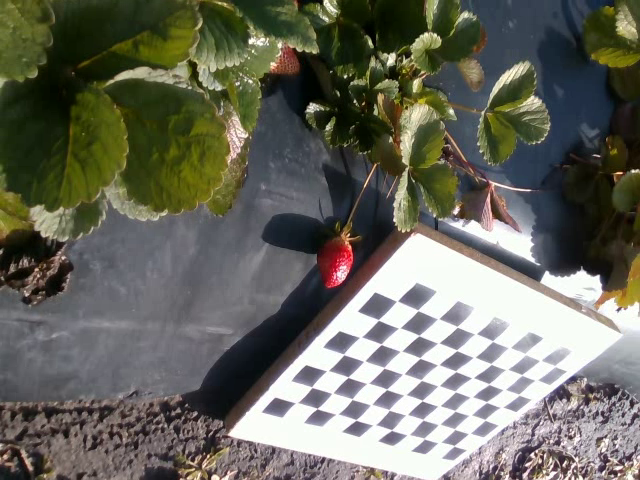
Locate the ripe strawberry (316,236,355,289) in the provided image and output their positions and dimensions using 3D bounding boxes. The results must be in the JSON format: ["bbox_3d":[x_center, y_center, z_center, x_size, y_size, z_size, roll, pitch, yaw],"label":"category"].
[{"bbox_3d":[0.008,0.017,0.403,0.034,0.038,0.033,23,-21,-30],"label":"ripe strawberry"}]
